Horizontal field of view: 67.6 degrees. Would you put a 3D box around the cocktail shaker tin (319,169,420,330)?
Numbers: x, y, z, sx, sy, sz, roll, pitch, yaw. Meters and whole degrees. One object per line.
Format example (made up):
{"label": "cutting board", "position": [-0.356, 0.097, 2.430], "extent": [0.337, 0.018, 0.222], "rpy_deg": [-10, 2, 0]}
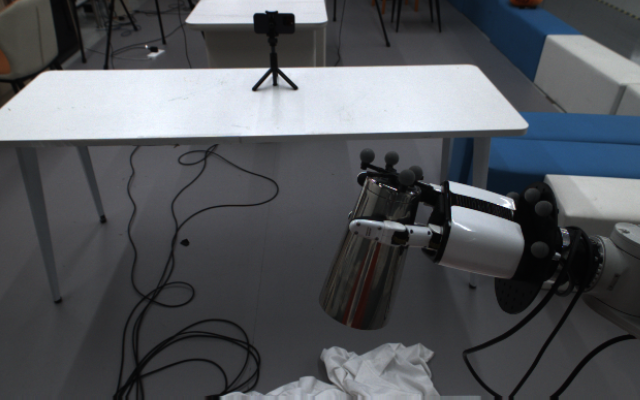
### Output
{"label": "cocktail shaker tin", "position": [0.067, 0.056, 0.584], "extent": [0.093, 0.170, 0.093], "rpy_deg": [14, 18, -5]}
